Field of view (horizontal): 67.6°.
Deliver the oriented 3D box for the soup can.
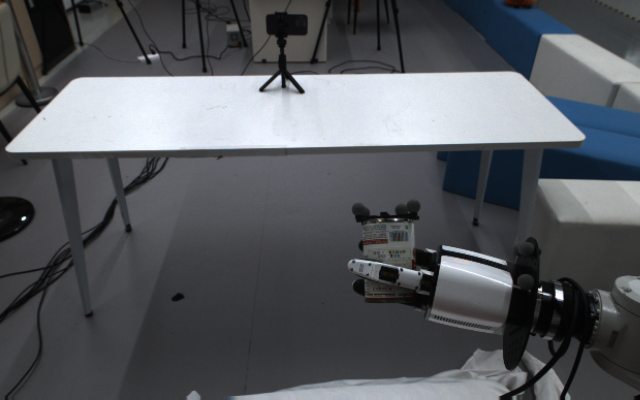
[{"bbox_3d":[0.090,0.078,0.612,0.067,0.101,0.067,-1,-9,0],"label":"soup can"}]
